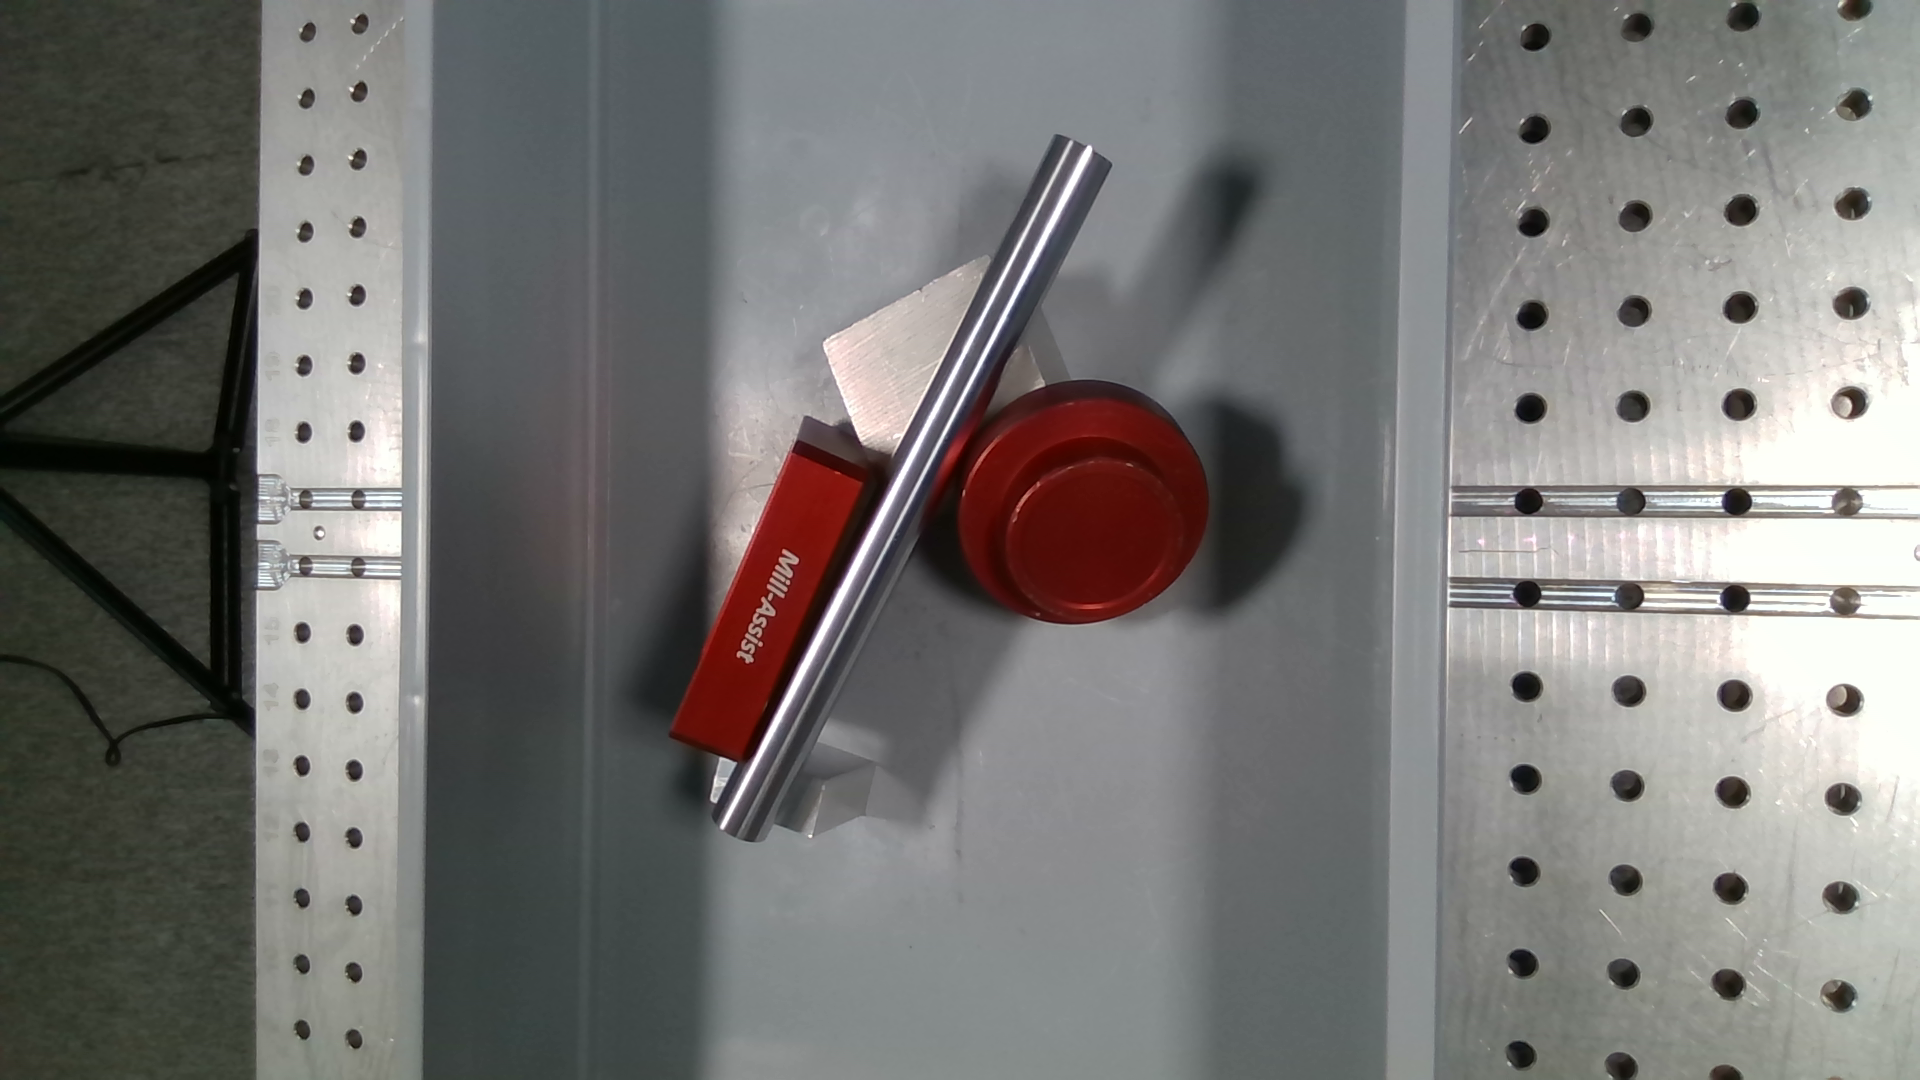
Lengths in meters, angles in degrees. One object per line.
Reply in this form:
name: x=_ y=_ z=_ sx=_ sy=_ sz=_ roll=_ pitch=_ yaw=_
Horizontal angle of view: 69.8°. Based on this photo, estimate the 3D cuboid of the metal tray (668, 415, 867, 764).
metal tray: x=-0.079 y=0.017 z=0.575 sx=0.030 sy=0.090 sz=0.130 roll=23 pitch=100 yaw=-9

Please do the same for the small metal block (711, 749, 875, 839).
small metal block: x=-0.072 y=0.105 z=0.599 sx=0.050 sy=0.050 sz=0.025 roll=15 pitch=95 yaw=20

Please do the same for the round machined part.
round machined part: x=0.048 y=-0.008 z=0.530 sx=0.098 sy=0.042 sz=0.098 roll=-3 pitch=119 yaw=-6

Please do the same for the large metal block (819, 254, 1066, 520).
large metal block: x=0.000 y=-0.061 z=0.570 sx=0.080 sy=0.050 sz=0.080 roll=-24 pitch=82 yaw=19

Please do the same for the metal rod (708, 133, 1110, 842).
metal rod: x=-0.023 y=-0.014 z=0.538 sx=0.025 sy=0.025 sz=0.300 roll=31 pitch=101 yaw=17
